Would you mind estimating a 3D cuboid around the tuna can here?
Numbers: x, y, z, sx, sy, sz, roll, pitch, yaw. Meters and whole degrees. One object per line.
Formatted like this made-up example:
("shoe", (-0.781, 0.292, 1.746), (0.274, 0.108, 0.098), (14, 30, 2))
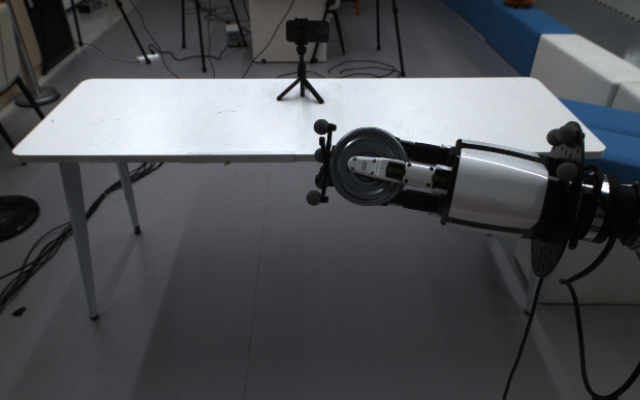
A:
("tuna can", (0.058, -0.033, 0.527), (0.085, 0.085, 0.034), (10, 2, 11))
